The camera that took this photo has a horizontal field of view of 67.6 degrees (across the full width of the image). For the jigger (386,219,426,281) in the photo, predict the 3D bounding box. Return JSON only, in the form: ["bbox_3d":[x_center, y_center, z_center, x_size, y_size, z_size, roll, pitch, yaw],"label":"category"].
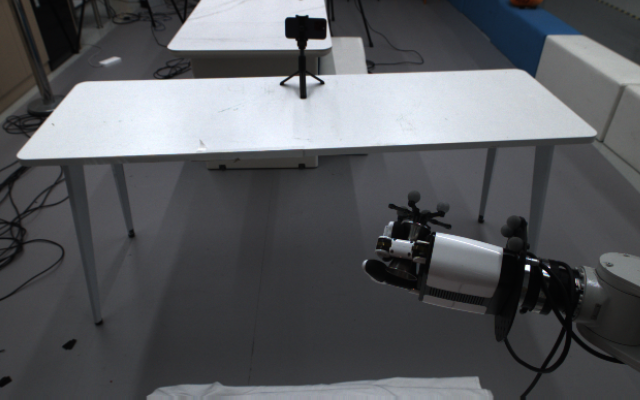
[{"bbox_3d":[0.118,0.064,0.641,0.043,0.043,0.071,16,70,19],"label":"jigger"}]
